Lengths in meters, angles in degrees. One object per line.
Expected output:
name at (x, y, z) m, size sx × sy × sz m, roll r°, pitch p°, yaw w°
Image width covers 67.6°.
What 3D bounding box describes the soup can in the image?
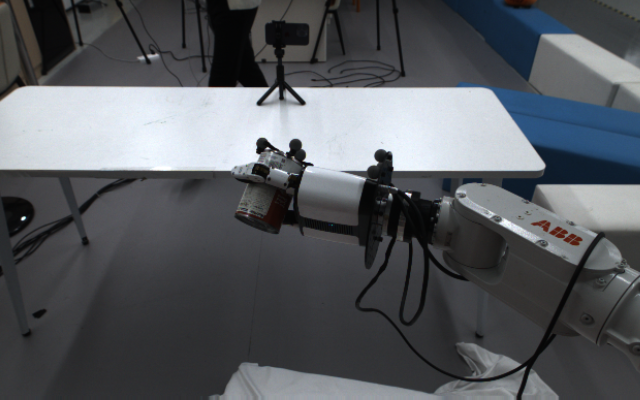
soup can at (-0.071, -0.011, 0.681) m, size 0.067 × 0.067 × 0.101 m, roll 16°, pitch 75°, yaw 19°
